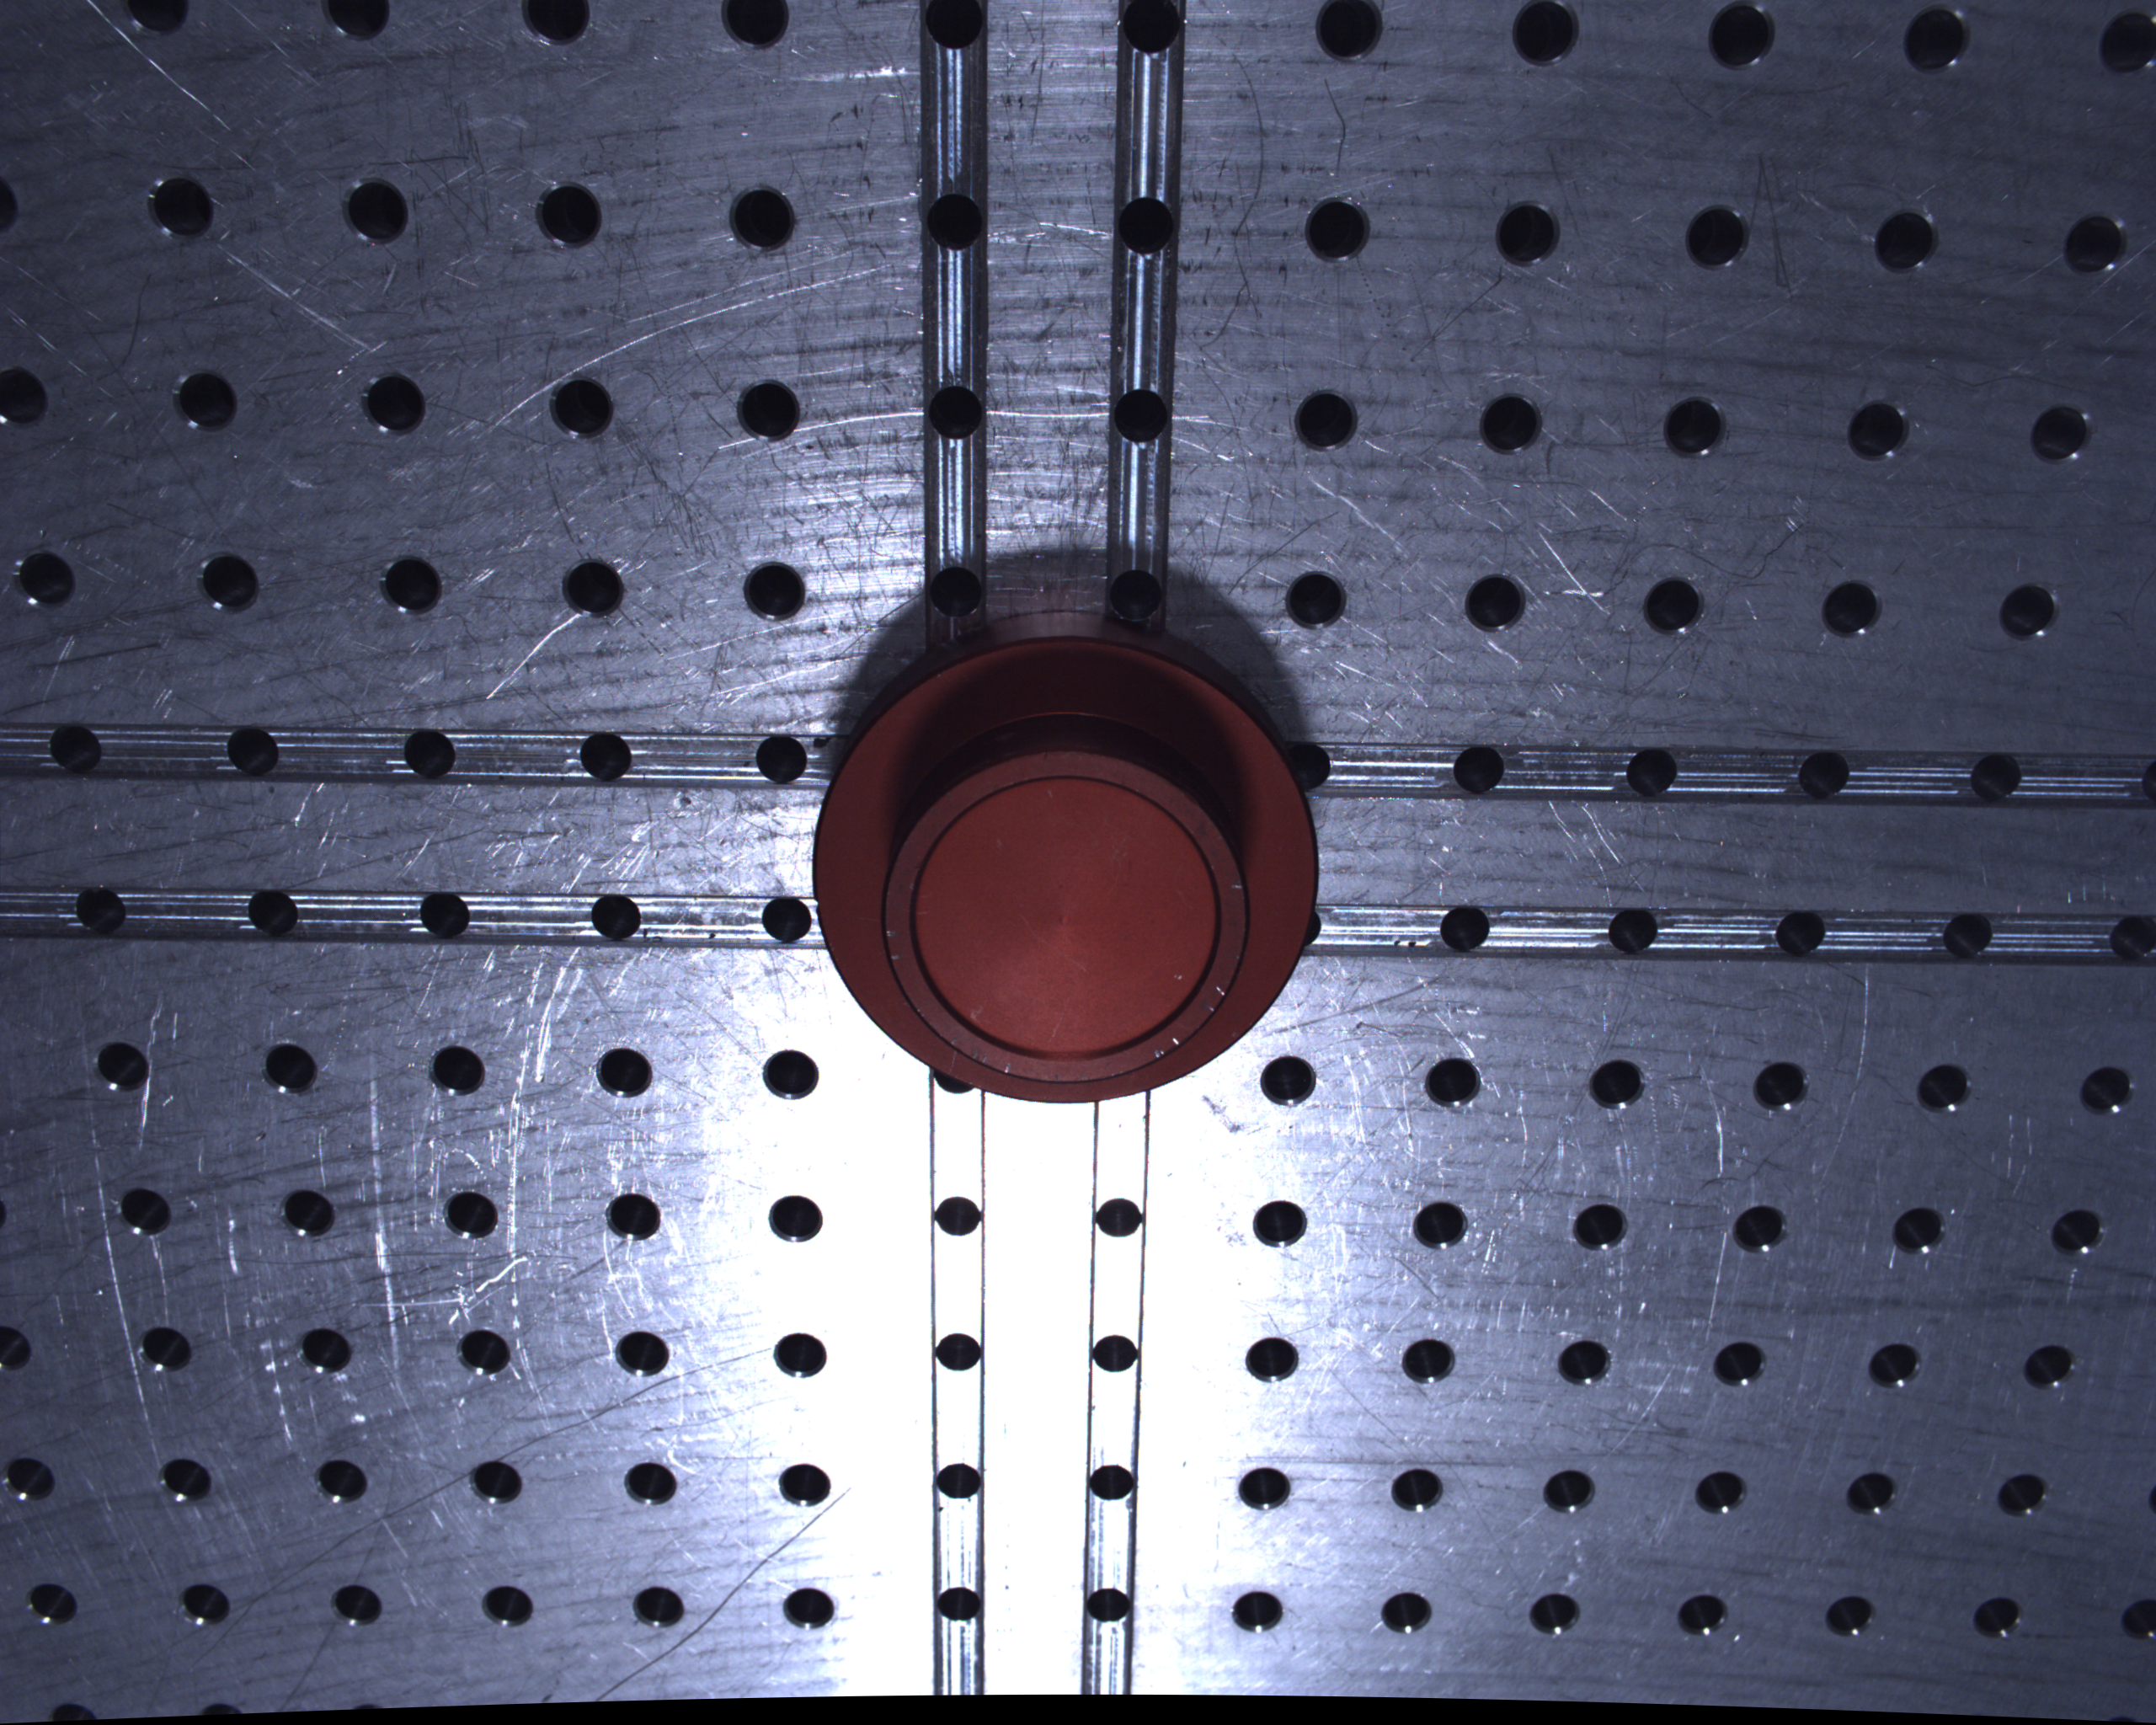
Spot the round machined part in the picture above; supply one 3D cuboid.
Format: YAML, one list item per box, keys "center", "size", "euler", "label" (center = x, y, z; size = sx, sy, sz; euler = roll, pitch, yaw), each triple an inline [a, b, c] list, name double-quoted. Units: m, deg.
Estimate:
- center: [-0.002, 0.004, 0.405]
  size: [0.099, 0.042, 0.097]
  euler: [0, 110, -1]
  label: "round machined part"
